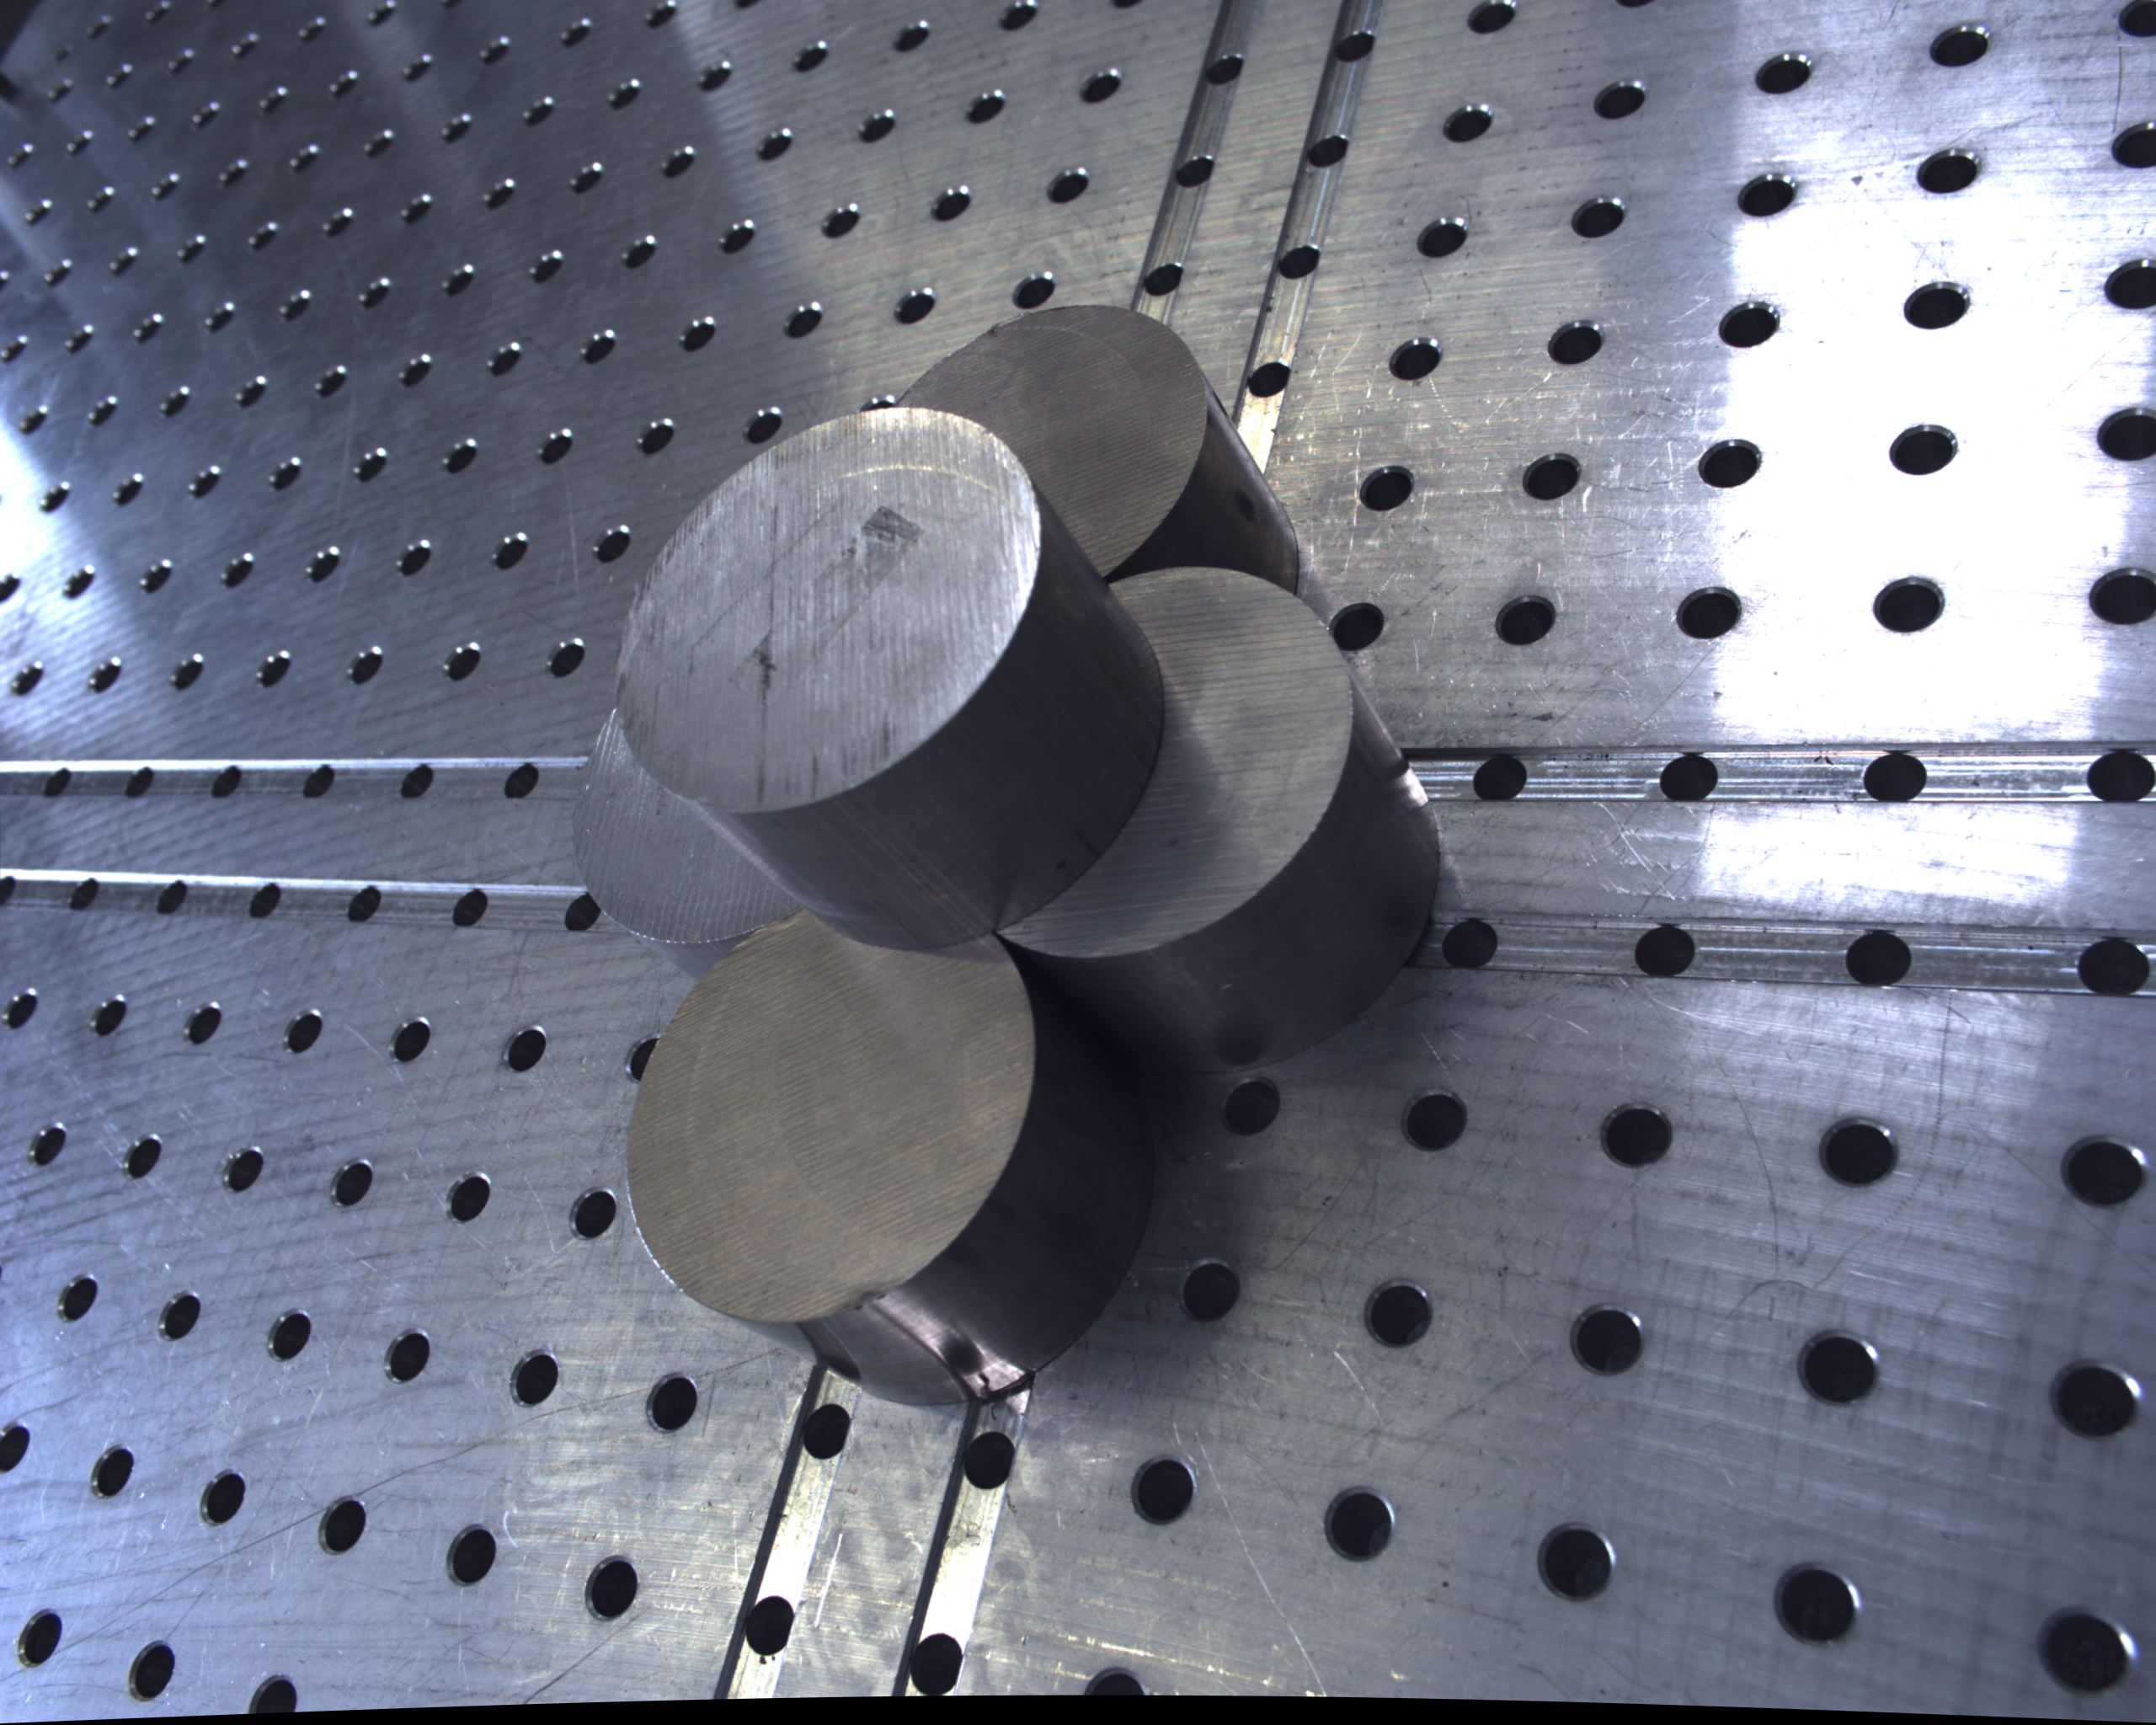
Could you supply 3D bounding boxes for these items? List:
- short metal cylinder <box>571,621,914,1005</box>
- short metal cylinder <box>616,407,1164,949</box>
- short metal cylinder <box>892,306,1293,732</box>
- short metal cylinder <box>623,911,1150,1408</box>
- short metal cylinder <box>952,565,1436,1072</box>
[{"bbox_3d":[-0.055,-0.008,0.426,0.080,0.050,0.080,-13,56,21],"label":"short metal cylinder"},{"bbox_3d":[-0.032,-0.032,0.363,0.080,0.050,0.080,-13,56,21],"label":"short metal cylinder"},{"bbox_3d":[-0.002,-0.068,0.434,0.080,0.050,0.080,-12,57,20],"label":"short metal cylinder"},{"bbox_3d":[-0.034,0.052,0.377,0.080,0.050,0.080,-13,54,20],"label":"short metal cylinder"},{"bbox_3d":[0.020,-0.008,0.386,0.080,0.050,0.080,-13,56,21],"label":"short metal cylinder"}]
